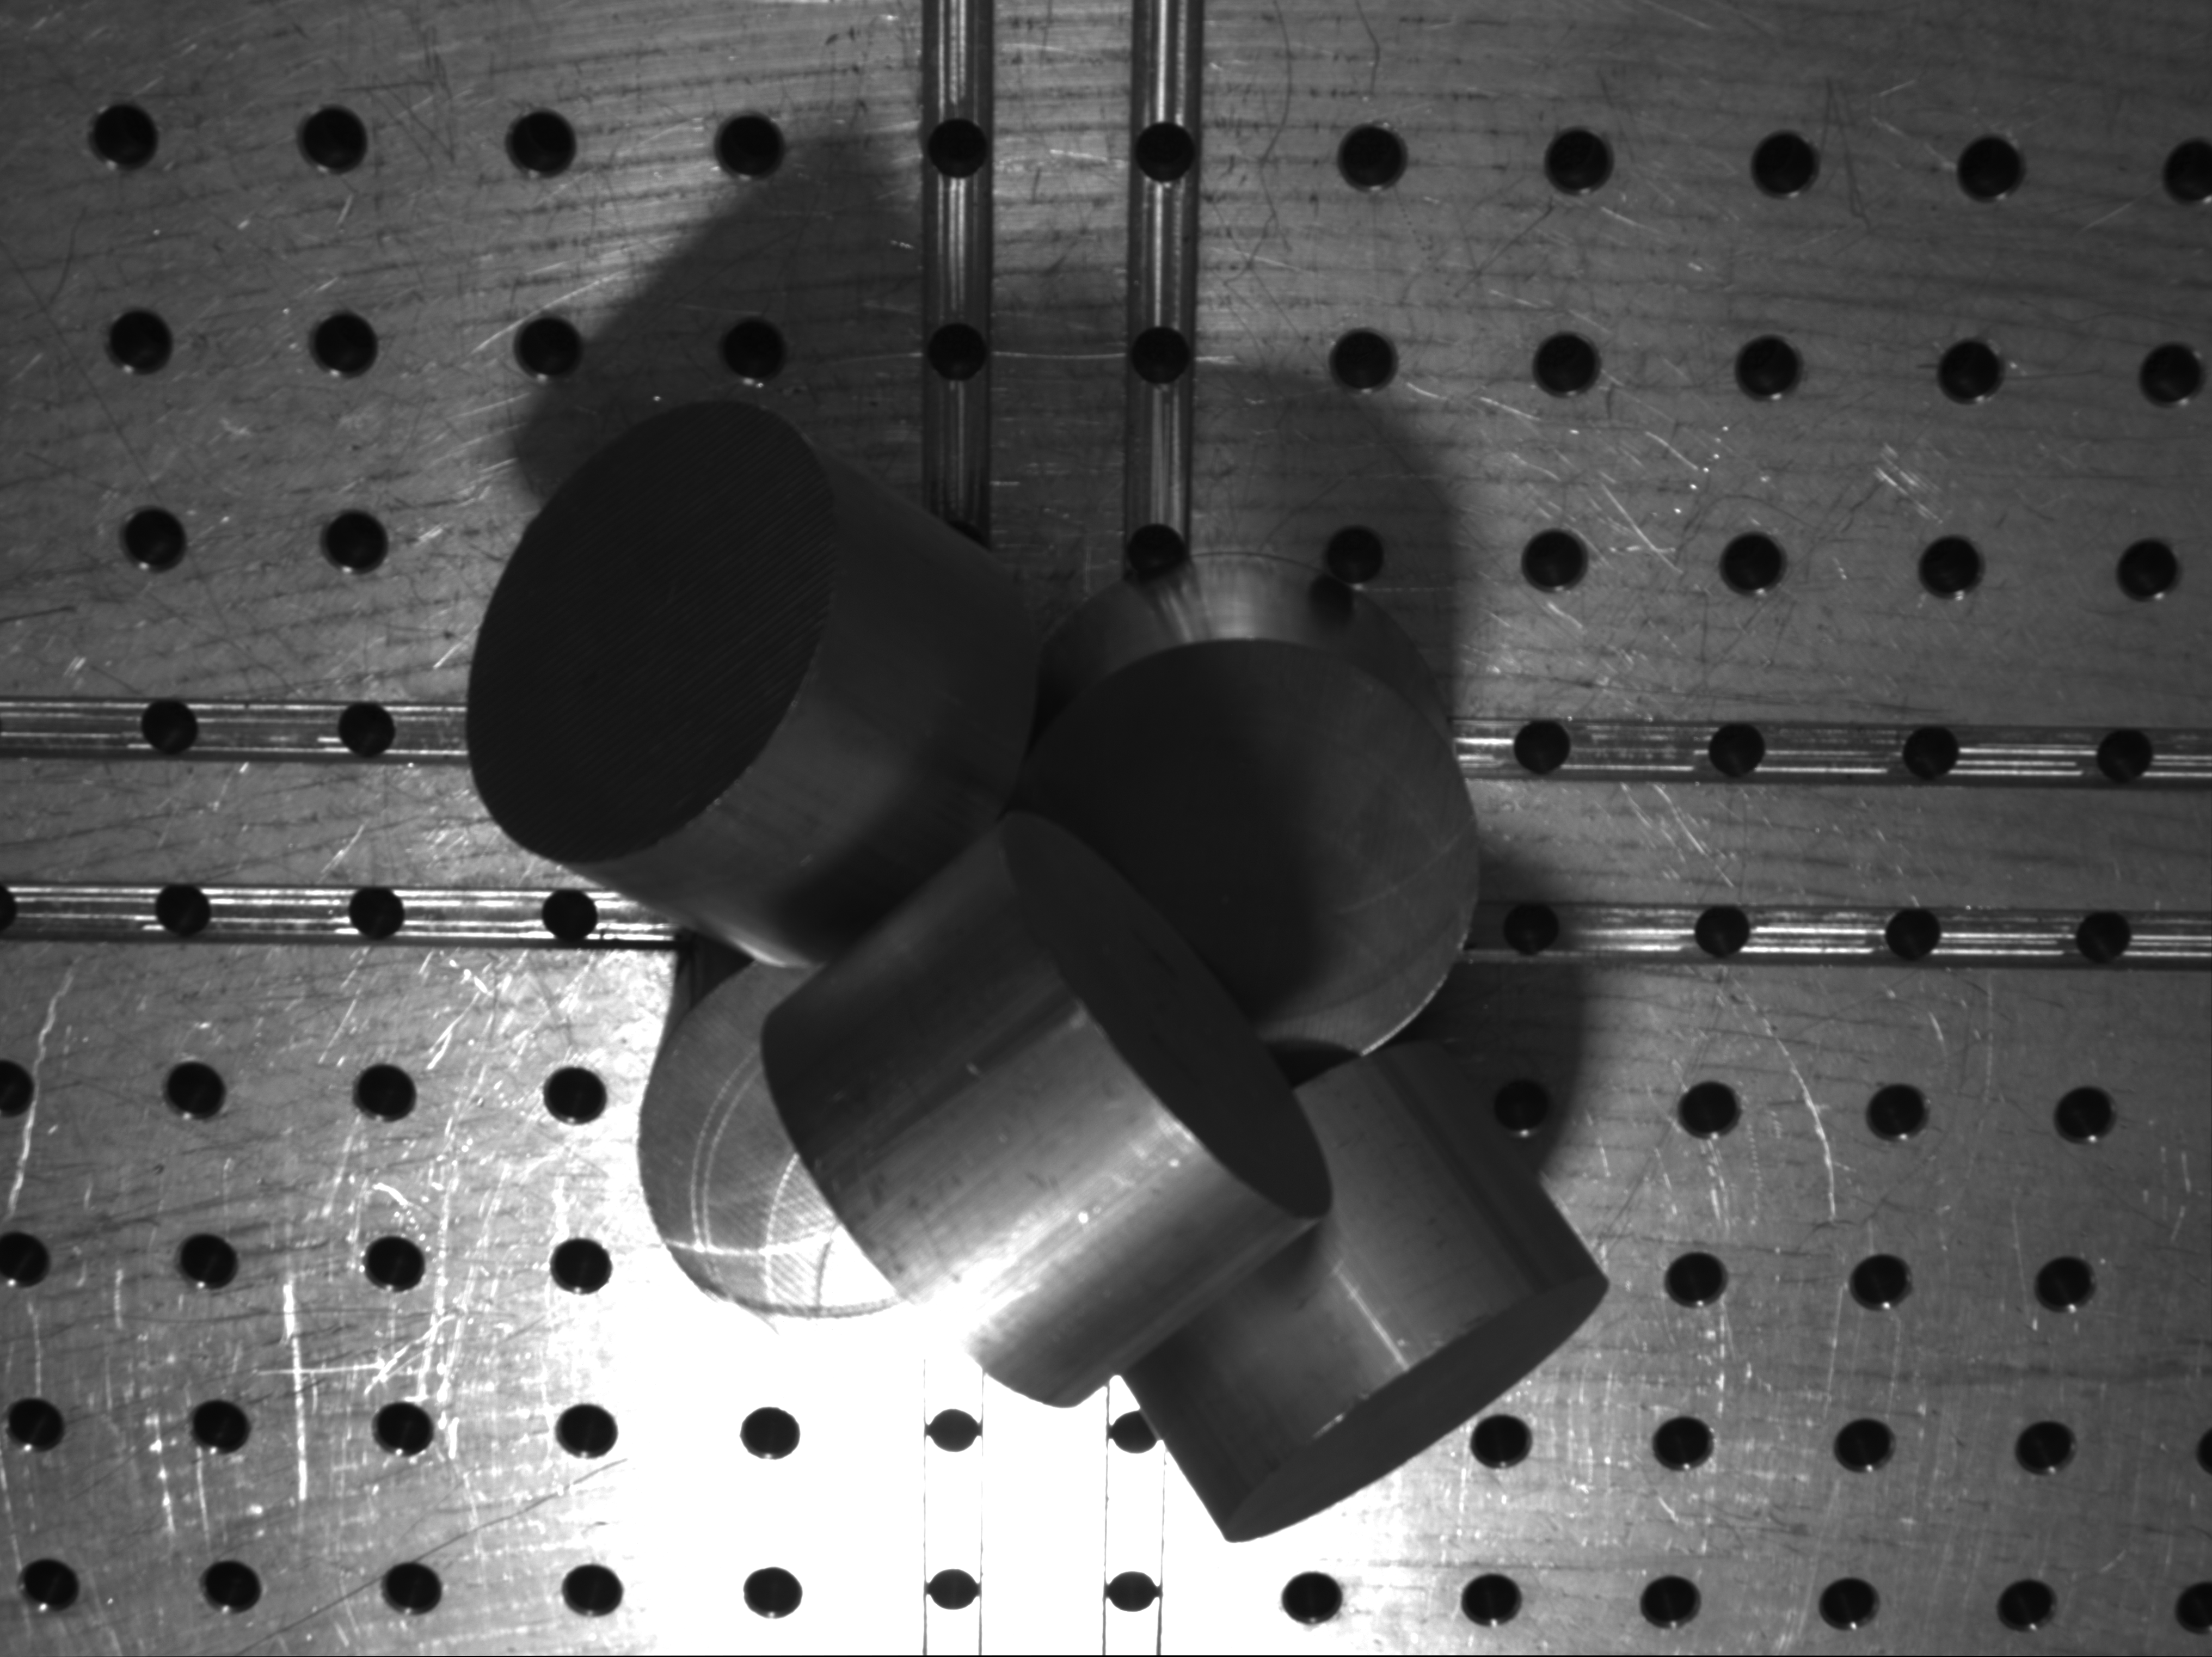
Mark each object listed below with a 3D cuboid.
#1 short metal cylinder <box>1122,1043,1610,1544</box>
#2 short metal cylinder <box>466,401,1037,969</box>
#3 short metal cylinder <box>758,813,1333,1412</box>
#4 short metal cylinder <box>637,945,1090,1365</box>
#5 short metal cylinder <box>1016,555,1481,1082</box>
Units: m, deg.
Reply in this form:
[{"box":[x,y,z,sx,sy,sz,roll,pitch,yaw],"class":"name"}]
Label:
[{"box":[0.041,0.082,0.639,0.080,0.080,0.050,-39,70,12],"class":"short metal cylinder"},{"box":[-0.058,-0.023,0.600,0.080,0.080,0.050,-44,138,14],"class":"short metal cylinder"},{"box":[-0.009,0.044,0.578,0.050,0.080,0.080,-39,106,13],"class":"short metal cylinder"},{"box":[-0.040,0.047,0.648,0.080,0.050,0.080,0,110,-1],"class":"short metal cylinder"},{"box":[0.022,-0.002,0.631,0.080,0.050,0.080,0,110,-1],"class":"short metal cylinder"}]
